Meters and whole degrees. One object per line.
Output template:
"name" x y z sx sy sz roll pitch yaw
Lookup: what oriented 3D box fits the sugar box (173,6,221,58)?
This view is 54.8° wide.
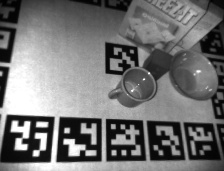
"sugar box" 0.205 -0.150 0.604 0.093 0.176 0.045 22 65 -6

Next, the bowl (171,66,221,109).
"bowl" 0.227 0.005 0.607 0.163 0.055 0.161 6 69 -15

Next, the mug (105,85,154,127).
"mug" 0.034 0.053 0.523 0.118 0.081 0.092 -7 64 -17

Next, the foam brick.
"foam brick" 0.106 -0.028 0.587 0.053 0.078 0.051 16 65 -9

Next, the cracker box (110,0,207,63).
"cracker box" 0.103 -0.148 0.552 0.164 0.213 0.072 30 62 -4
